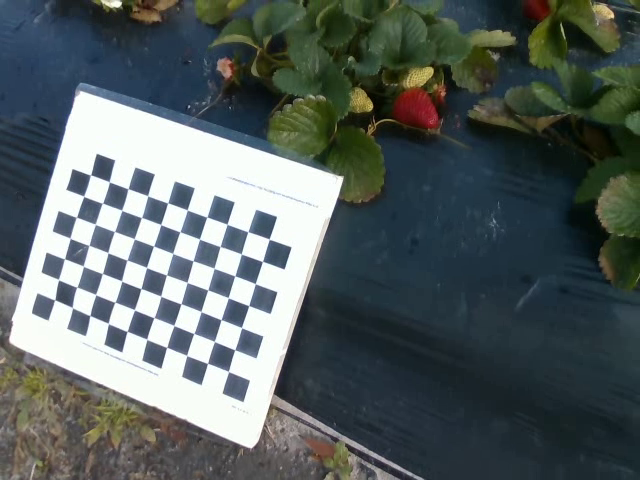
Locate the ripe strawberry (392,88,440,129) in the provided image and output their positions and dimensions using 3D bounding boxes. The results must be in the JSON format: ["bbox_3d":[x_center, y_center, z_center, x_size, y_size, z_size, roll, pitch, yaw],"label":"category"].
[{"bbox_3d":[0.089,-0.127,0.564,0.050,0.064,0.043,-40,-9,9],"label":"ripe strawberry"}]
